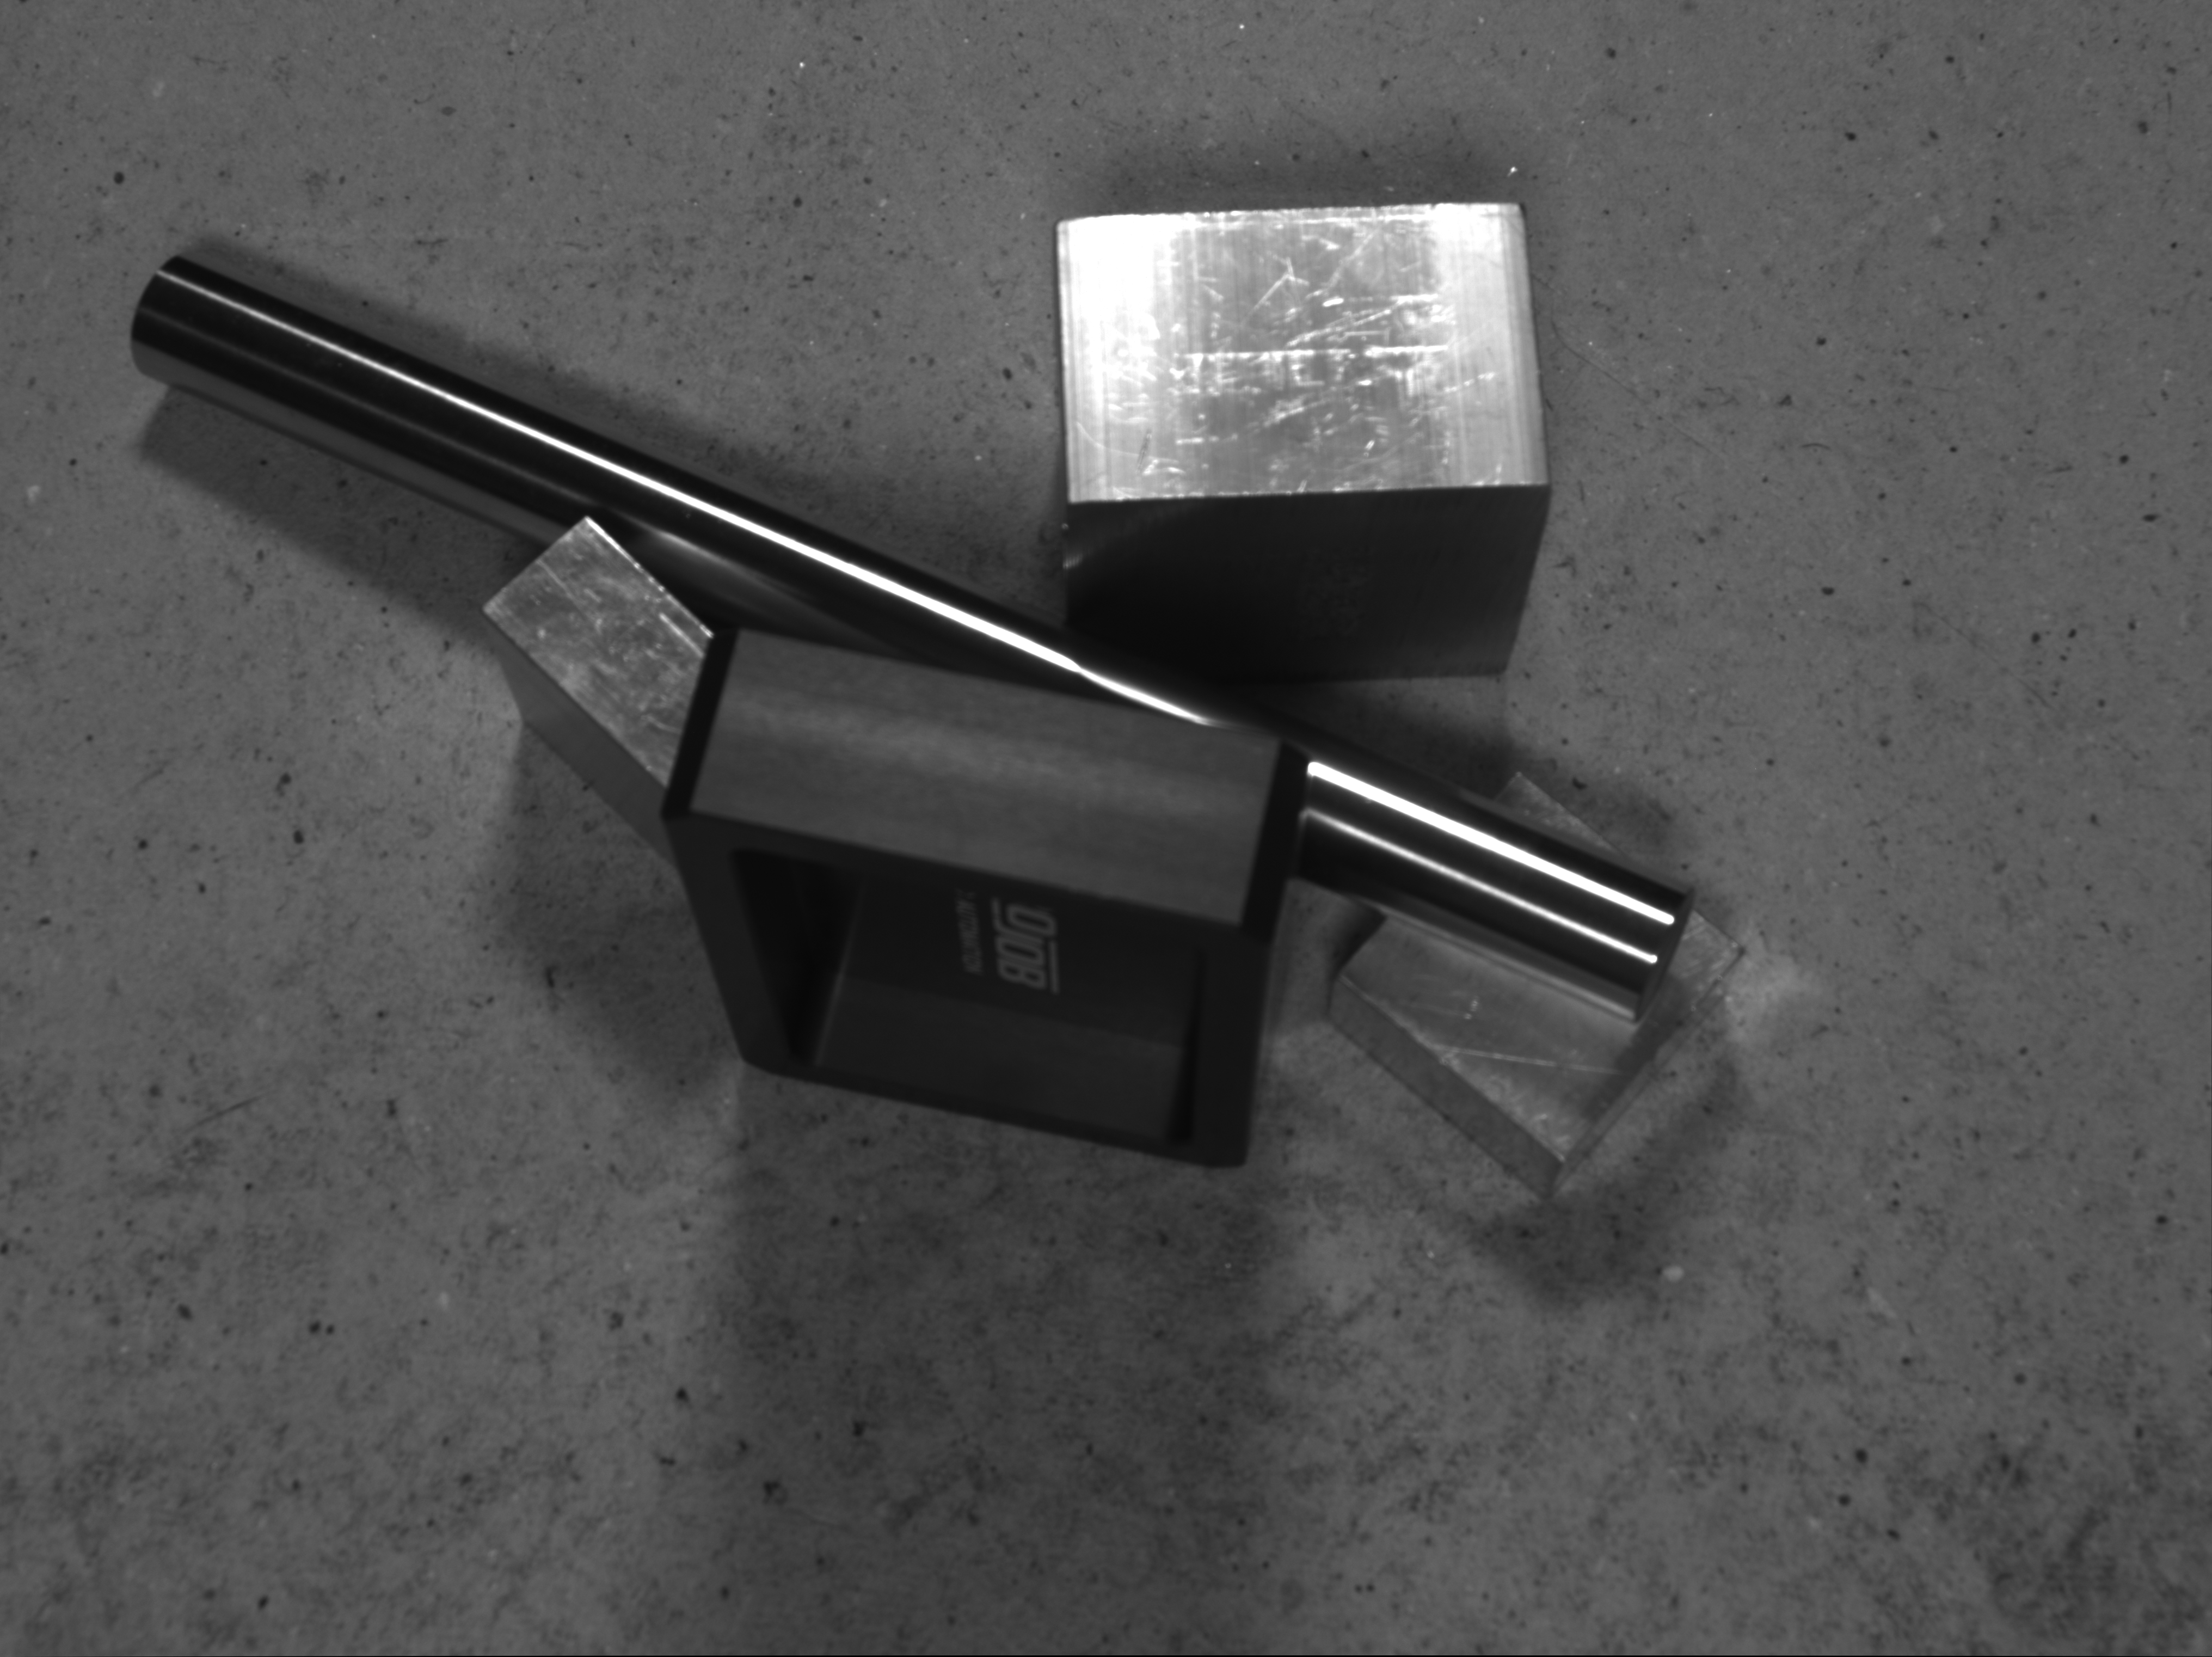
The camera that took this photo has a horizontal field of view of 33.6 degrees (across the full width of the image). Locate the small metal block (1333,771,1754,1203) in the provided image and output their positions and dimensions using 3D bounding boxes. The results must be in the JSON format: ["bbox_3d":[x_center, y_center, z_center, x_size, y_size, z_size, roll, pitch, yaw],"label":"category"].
[{"bbox_3d":[0.075,0.028,0.636,0.050,0.025,0.050,40,75,13],"label":"small metal block"}]

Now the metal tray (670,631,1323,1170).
[{"bbox_3d":[-0.015,0.015,0.584,0.090,0.130,0.030,12,70,5],"label":"metal tray"}]

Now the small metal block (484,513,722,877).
[{"bbox_3d":[-0.078,-0.020,0.638,0.050,0.050,0.025,43,75,14],"label":"small metal block"}]

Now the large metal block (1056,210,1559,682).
[{"bbox_3d":[0.033,-0.064,0.638,0.080,0.080,0.050,-2,70,-1],"label":"large metal block"}]

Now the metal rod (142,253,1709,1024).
[{"bbox_3d":[-0.038,-0.037,0.644,0.300,0.025,0.025,24,71,14],"label":"metal rod"}]
